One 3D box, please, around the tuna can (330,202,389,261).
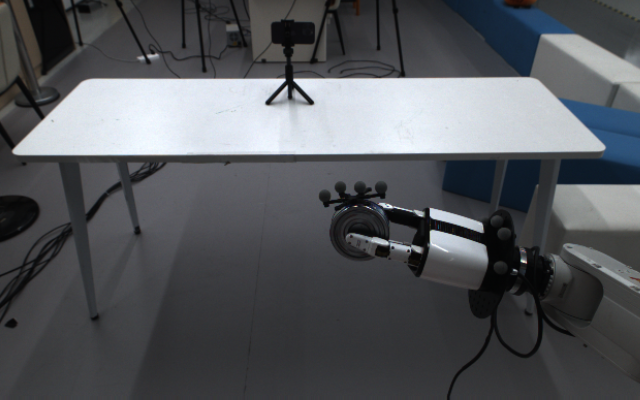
[{"bbox_3d":[0.061,0.049,0.689,0.085,0.085,0.034,6,18,5],"label":"tuna can"}]
